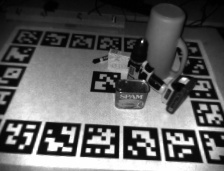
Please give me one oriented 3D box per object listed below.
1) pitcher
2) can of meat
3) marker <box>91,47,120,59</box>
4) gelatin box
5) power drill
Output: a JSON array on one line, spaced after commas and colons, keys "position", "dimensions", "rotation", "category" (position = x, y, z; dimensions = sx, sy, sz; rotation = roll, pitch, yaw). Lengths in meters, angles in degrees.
[{"position": [0.178, -0.145, 0.738], "dimensions": [0.186, 0.244, 0.134], "rotation": [25, 55, 25], "category": "pitcher"}, {"position": [0.054, 0.021, 0.677], "dimensions": [0.102, 0.084, 0.057], "rotation": [2, 48, -3], "category": "can of meat"}, {"position": [-0.023, -0.128, 0.838], "dimensions": [0.122, 0.020, 0.019], "rotation": [-18, 54, -18], "category": "marker"}, {"position": [0.031, -0.099, 0.788], "dimensions": [0.089, 0.073, 0.030], "rotation": [12, 54, 4], "category": "gelatin box"}, {"position": [0.126, -0.055, 0.686], "dimensions": [0.185, 0.185, 0.057], "rotation": [34, 58, 15], "category": "power drill"}]
